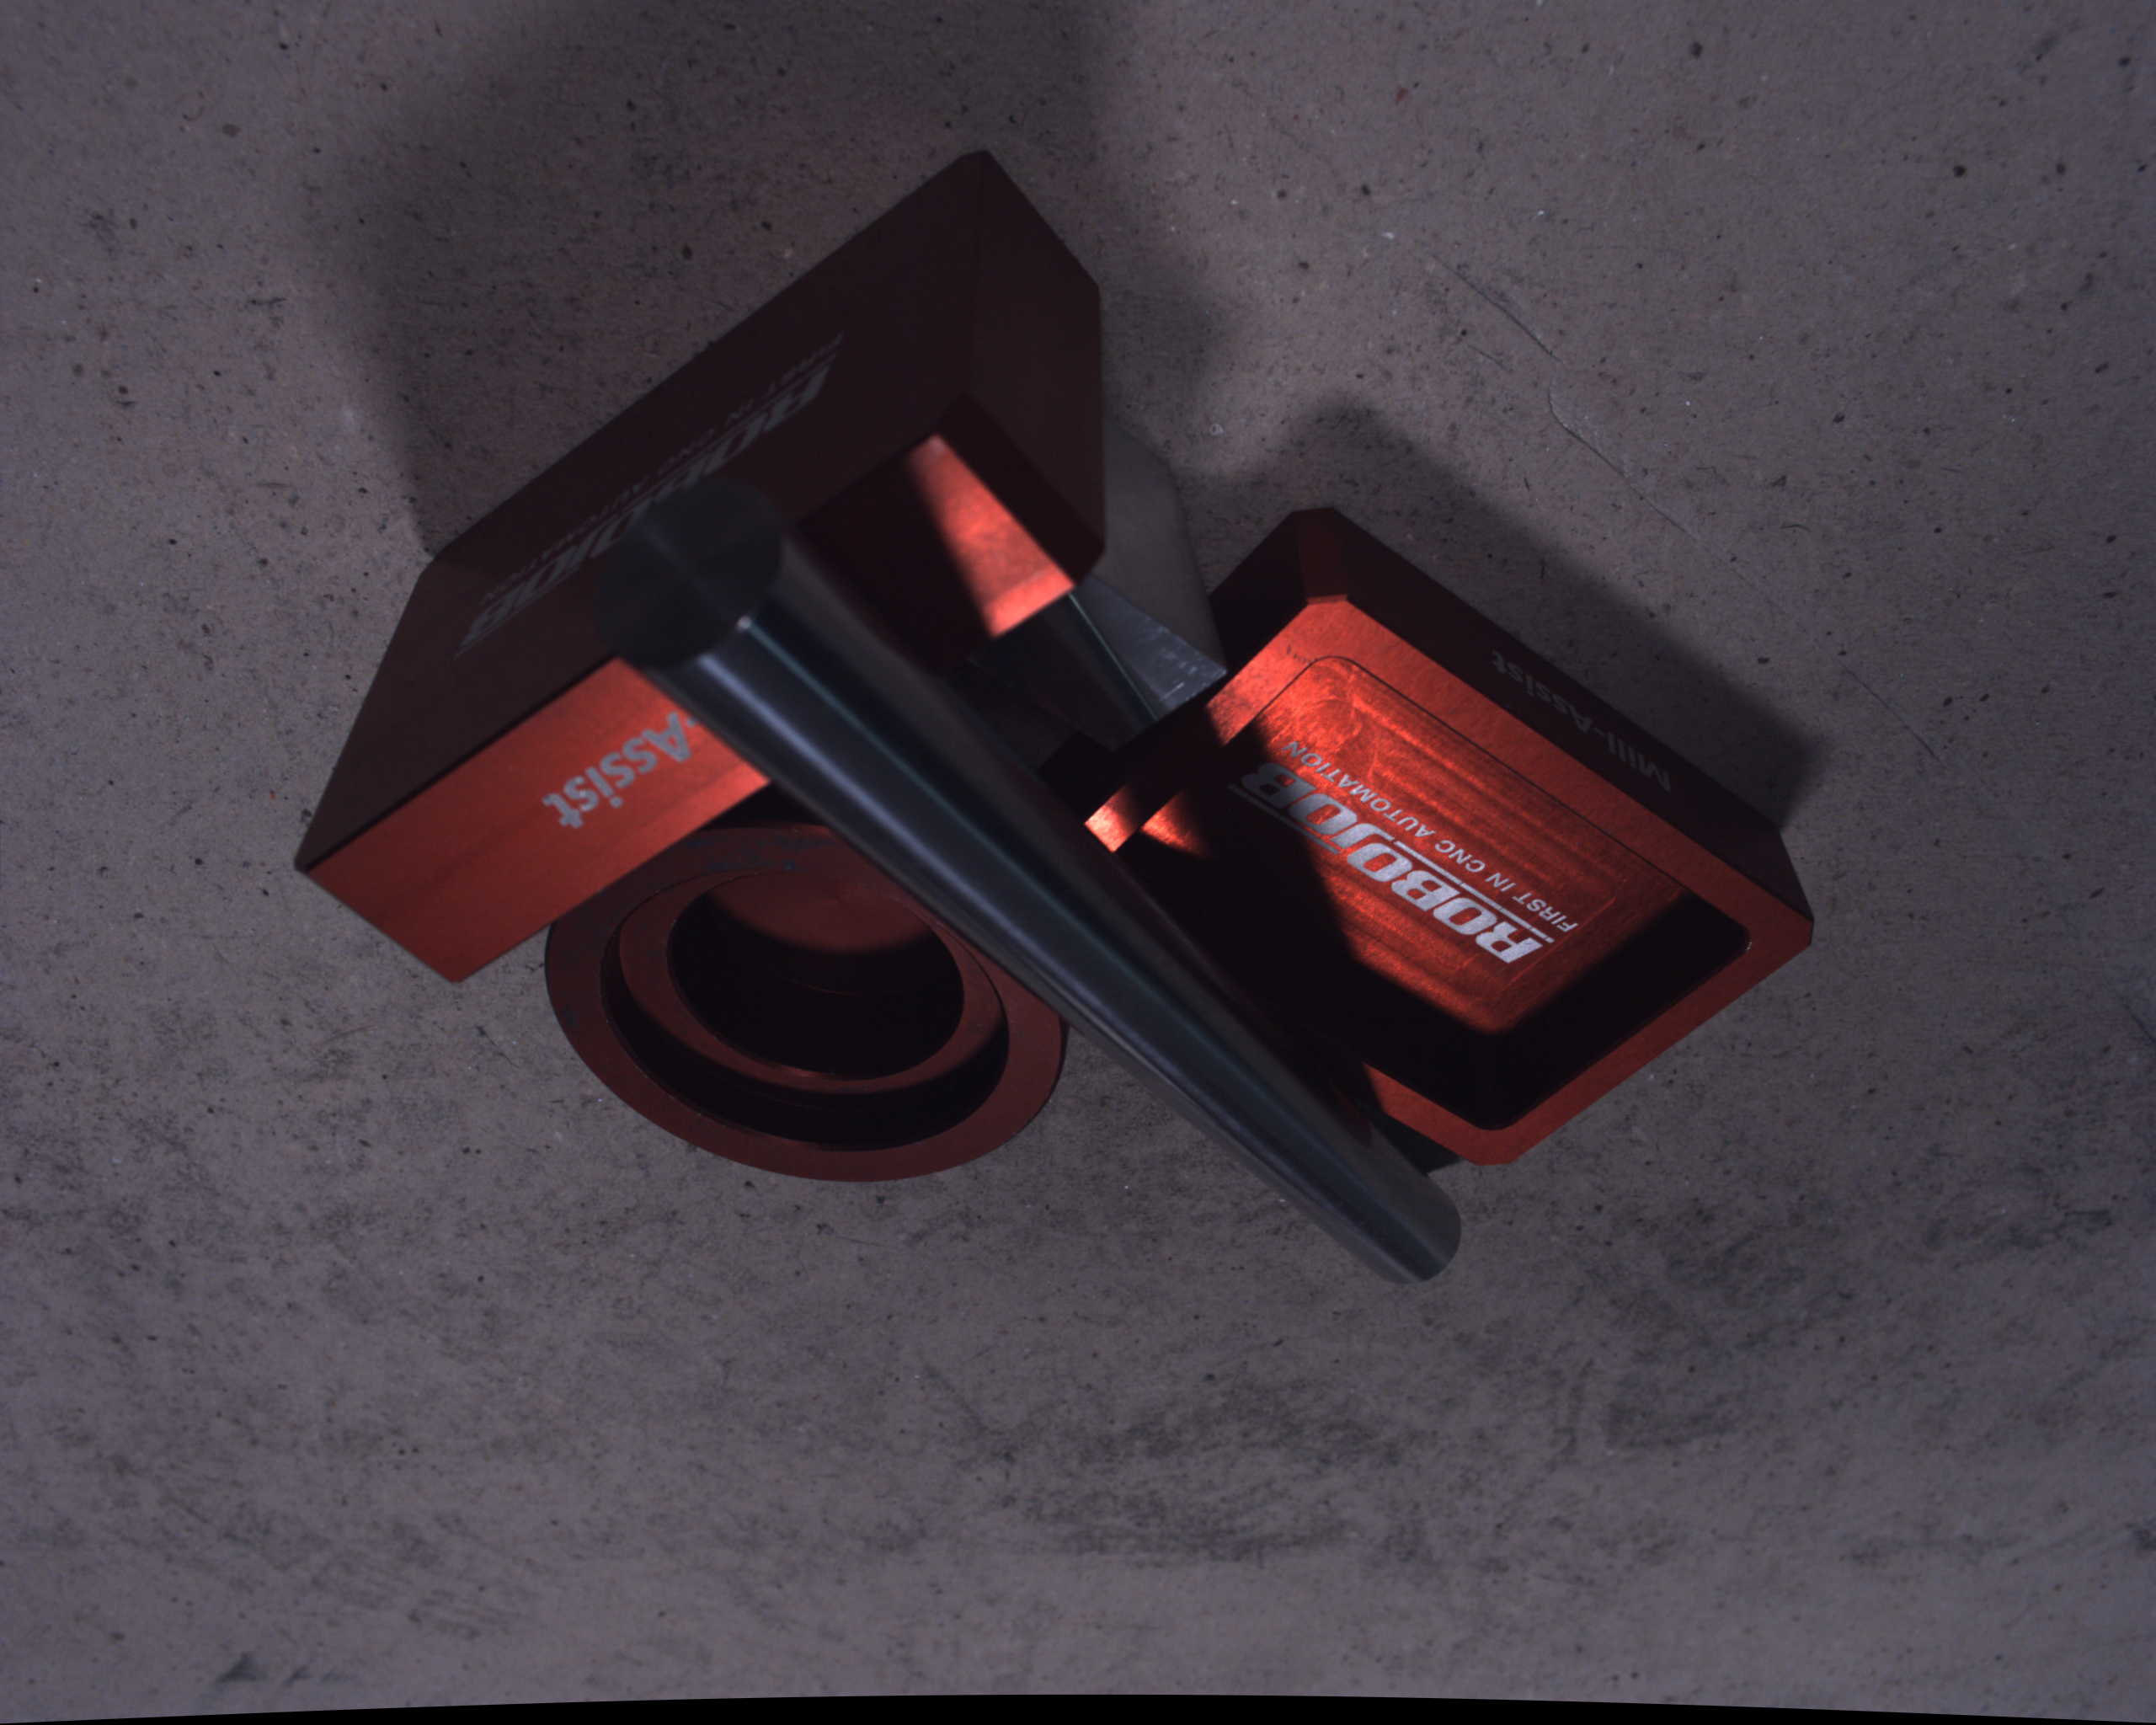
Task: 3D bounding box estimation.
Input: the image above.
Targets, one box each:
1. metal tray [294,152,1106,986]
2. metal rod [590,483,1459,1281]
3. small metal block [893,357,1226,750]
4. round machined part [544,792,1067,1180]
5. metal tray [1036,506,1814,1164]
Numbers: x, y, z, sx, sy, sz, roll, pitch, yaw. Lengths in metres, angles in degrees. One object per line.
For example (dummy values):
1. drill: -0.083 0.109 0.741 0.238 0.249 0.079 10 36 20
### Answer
1. metal tray: -0.057 -0.046 0.325 0.130 0.090 0.030 -30 124 22
2. metal rod: 0.016 0.026 0.361 0.025 0.025 0.300 -21 149 16
3. small metal block: -0.006 -0.054 0.340 0.025 0.050 0.050 -34 137 28
4. round machined part: -0.049 0.015 0.405 0.099 0.042 0.097 4 134 4
5. metal tray: 0.065 0.000 0.407 0.131 0.030 0.090 31 124 -24
